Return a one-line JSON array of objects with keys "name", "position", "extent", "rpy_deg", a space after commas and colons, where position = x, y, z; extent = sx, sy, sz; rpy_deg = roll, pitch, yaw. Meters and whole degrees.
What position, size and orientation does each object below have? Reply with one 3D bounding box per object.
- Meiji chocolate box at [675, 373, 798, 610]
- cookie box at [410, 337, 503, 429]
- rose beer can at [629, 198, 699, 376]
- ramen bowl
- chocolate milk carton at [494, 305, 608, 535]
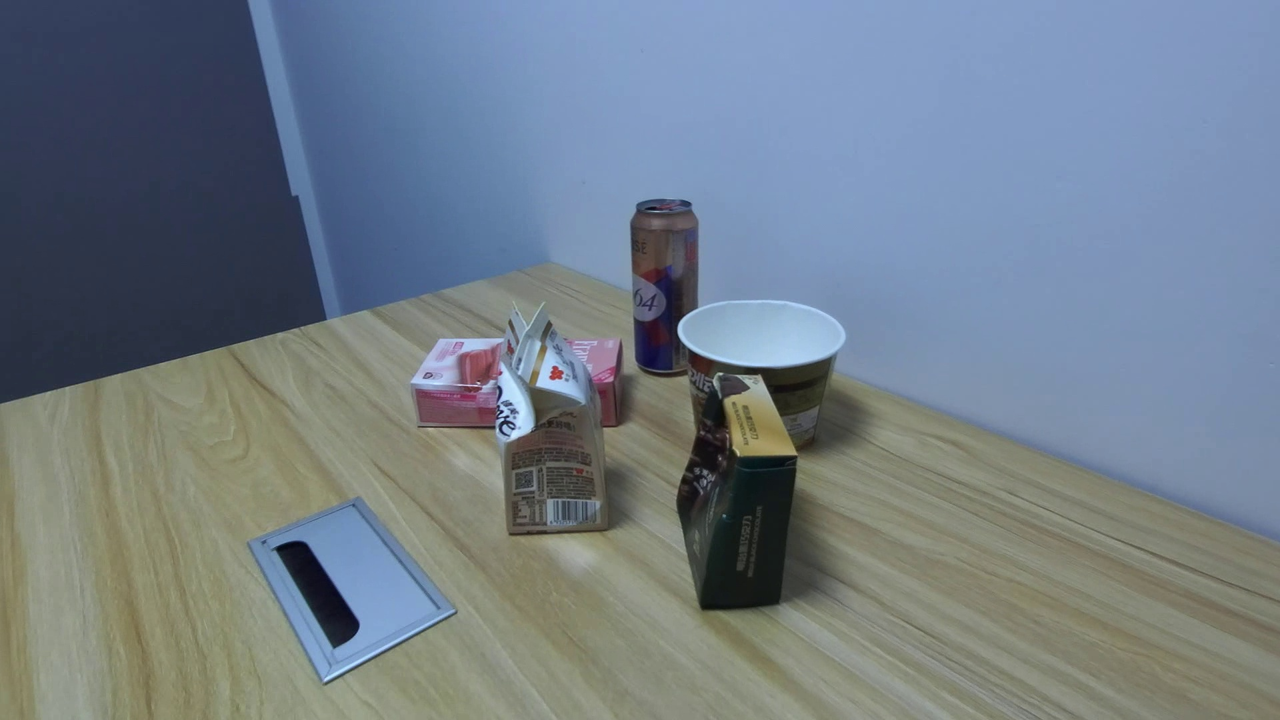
[{"name": "Meiji chocolate box", "position": [0.063, 0.081, 0.456], "extent": [0.052, 0.117, 0.117], "rpy_deg": [3, 25, -7]}, {"name": "cookie box", "position": [-0.113, 0.021, 0.668], "extent": [0.187, 0.049, 0.105], "rpy_deg": [-1, 26, 4]}, {"name": "rose beer can", "position": [0.025, -0.071, 0.712], "extent": [0.068, 0.169, 0.068], "rpy_deg": [-1, 24, 1]}, {"name": "ramen bowl", "position": [0.102, 0.015, 0.612], "extent": [0.140, 0.095, 0.140], "rpy_deg": [-2, 26, 1]}, {"name": "chocolate milk carton", "position": [-0.065, 0.039, 0.500], "extent": [0.073, 0.156, 0.076], "rpy_deg": [-4, 27, 0]}]
